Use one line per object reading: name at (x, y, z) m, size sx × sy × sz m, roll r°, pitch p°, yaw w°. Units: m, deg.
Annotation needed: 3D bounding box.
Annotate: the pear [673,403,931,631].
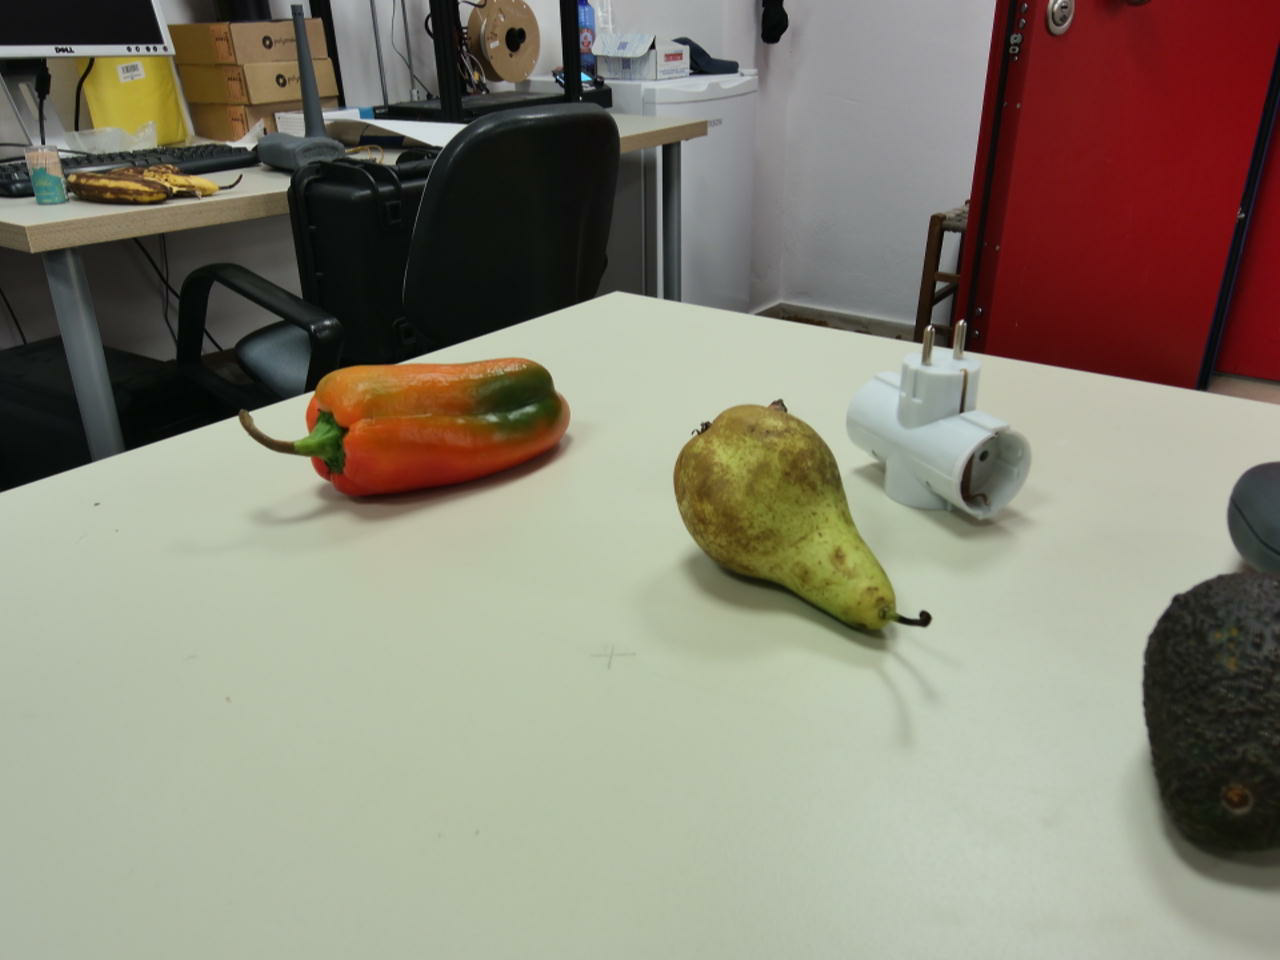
pear at (0.076, 0.014, 0.419) m, size 0.071 × 0.075 × 0.144 m, roll -21°, pitch 30°, yaw -40°
